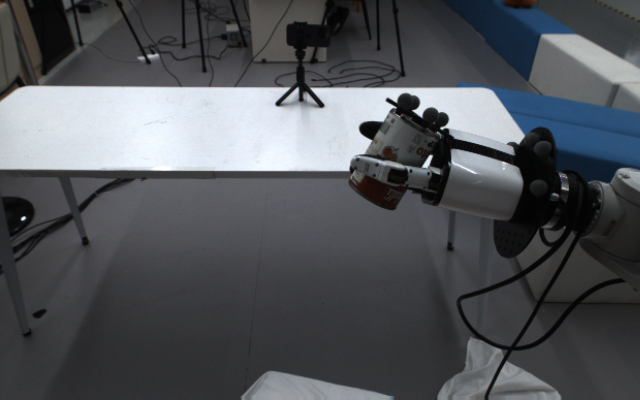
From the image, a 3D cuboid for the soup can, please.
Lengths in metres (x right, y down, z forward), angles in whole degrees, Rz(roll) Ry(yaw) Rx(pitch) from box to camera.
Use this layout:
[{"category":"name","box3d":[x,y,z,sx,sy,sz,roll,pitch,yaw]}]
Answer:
[{"category":"soup can","box3d":[0.088,-0.048,0.572,0.067,0.101,0.067,27,18,-9]}]
